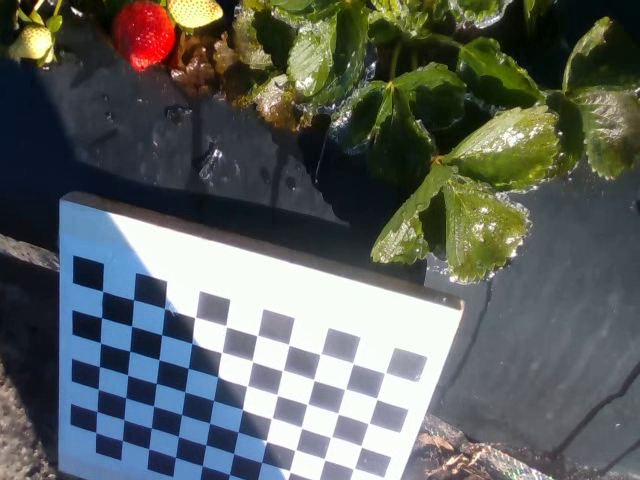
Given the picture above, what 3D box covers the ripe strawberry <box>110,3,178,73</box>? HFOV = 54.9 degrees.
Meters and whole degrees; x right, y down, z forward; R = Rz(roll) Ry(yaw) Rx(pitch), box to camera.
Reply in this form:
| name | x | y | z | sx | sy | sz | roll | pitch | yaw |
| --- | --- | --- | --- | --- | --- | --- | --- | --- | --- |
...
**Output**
| name | x | y | z | sx | sy | sz | roll | pitch | yaw |
| --- | --- | --- | --- | --- | --- | --- | --- | --- | --- |
| ripe strawberry | -0.103 | -0.113 | 0.353 | 0.040 | 0.053 | 0.042 | -20 | -44 | 16 |
